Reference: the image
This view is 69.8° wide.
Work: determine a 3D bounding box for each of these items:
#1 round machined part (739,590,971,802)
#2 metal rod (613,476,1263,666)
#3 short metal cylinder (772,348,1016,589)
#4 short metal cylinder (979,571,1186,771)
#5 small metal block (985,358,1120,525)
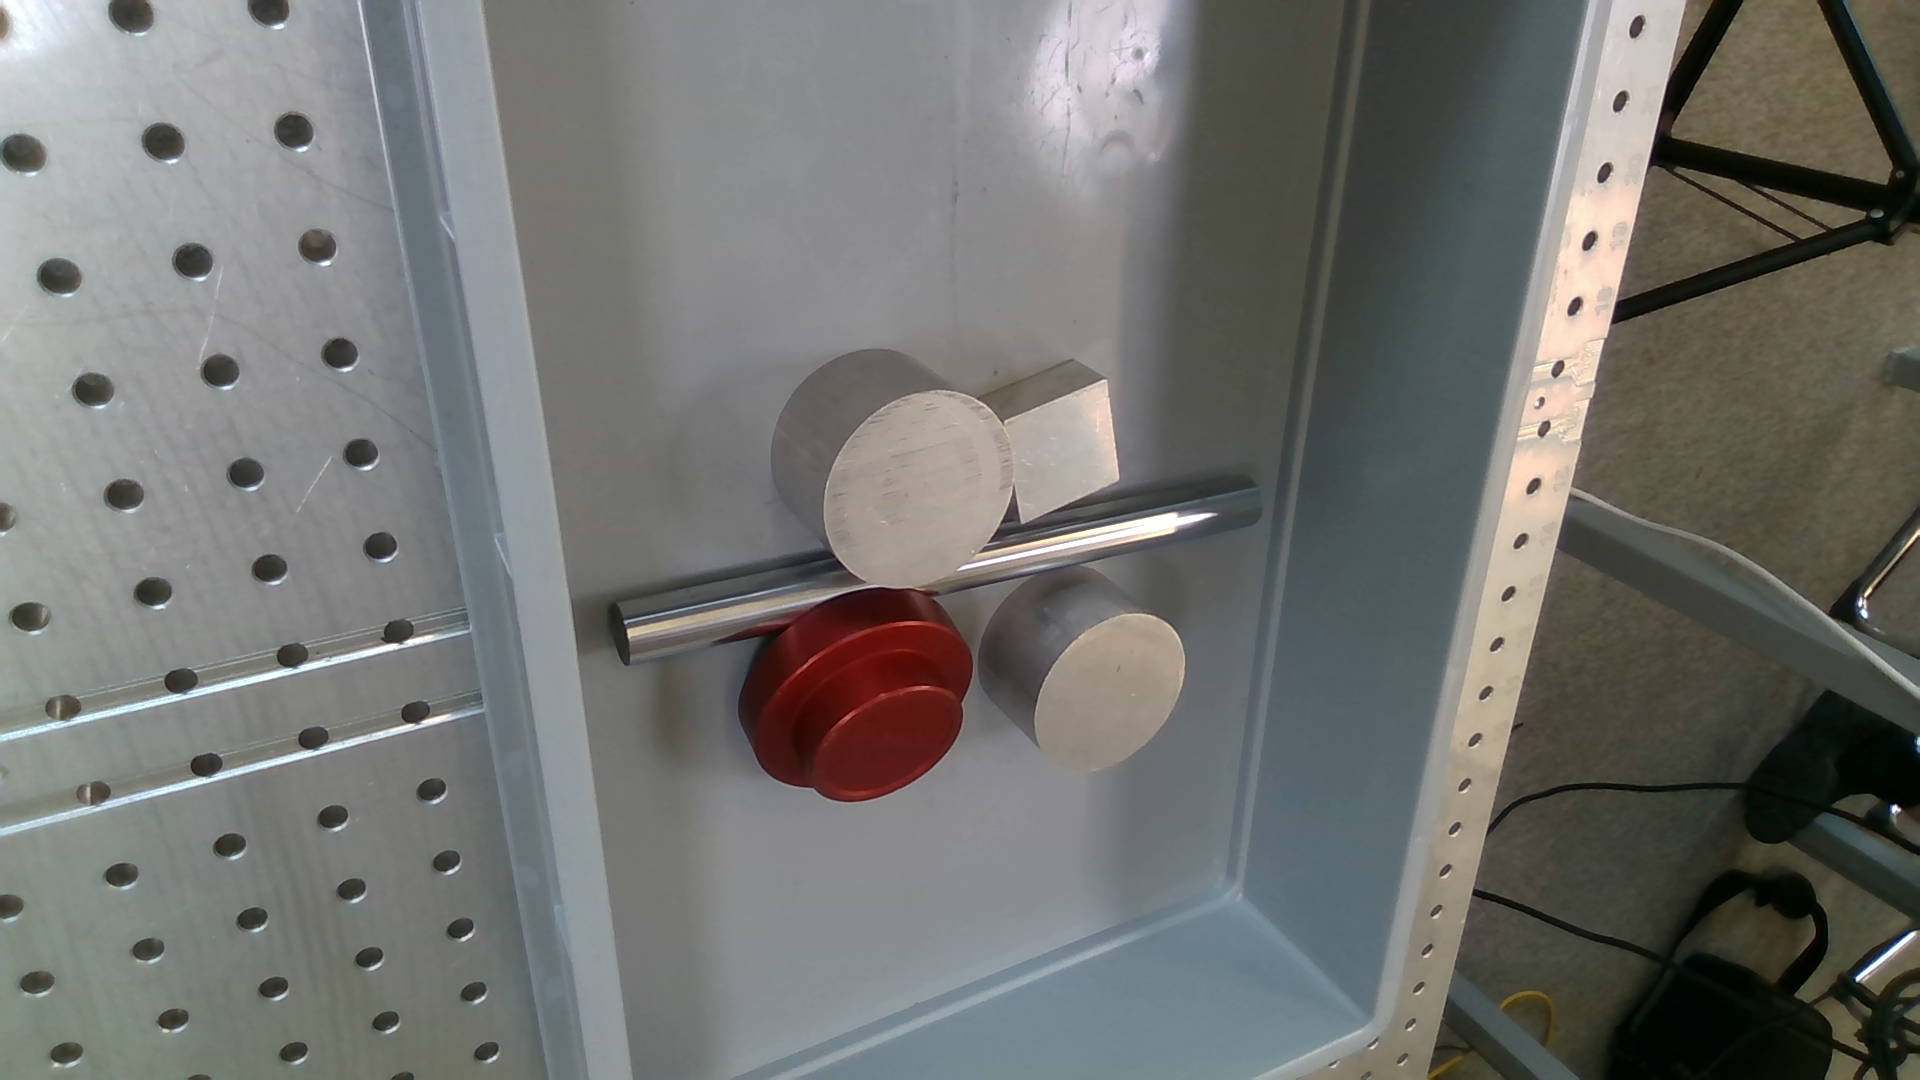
[{"bbox_3d":[-0.038,0.070,0.567,0.098,0.042,0.098,-21,140,-19],"label":"round machined part"},{"bbox_3d":[0.004,0.008,0.586,0.300,0.025,0.025,-12,120,-26],"label":"metal rod"},{"bbox_3d":[-0.026,-0.028,0.532,0.080,0.050,0.080,-14,122,-25],"label":"short metal cylinder"},{"bbox_3d":[0.056,0.058,0.628,0.080,0.050,0.080,-14,122,-25],"label":"short metal cylinder"},{"bbox_3d":[0.037,-0.042,0.579,0.050,0.025,0.050,-24,125,-19],"label":"small metal block"}]
